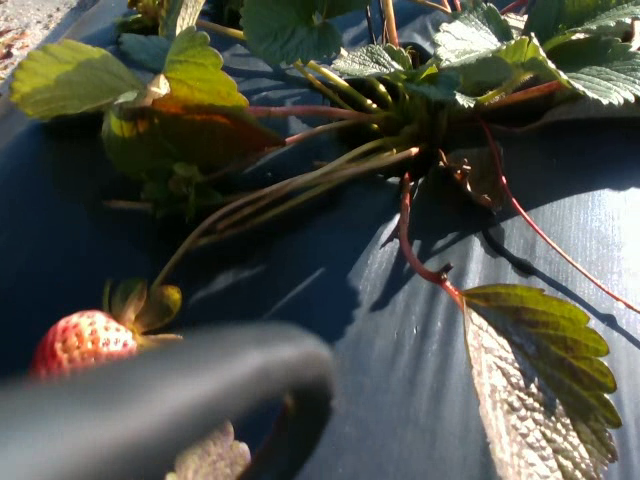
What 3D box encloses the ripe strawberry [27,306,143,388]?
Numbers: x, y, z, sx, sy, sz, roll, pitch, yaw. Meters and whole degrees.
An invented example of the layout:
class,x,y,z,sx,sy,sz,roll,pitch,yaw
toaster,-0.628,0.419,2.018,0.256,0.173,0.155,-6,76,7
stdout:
class,x,y,z,sx,sy,sz,roll,pitch,yaw
ripe strawberry,-0.082,0.046,0.186,0.045,0.043,0.063,-25,25,48
